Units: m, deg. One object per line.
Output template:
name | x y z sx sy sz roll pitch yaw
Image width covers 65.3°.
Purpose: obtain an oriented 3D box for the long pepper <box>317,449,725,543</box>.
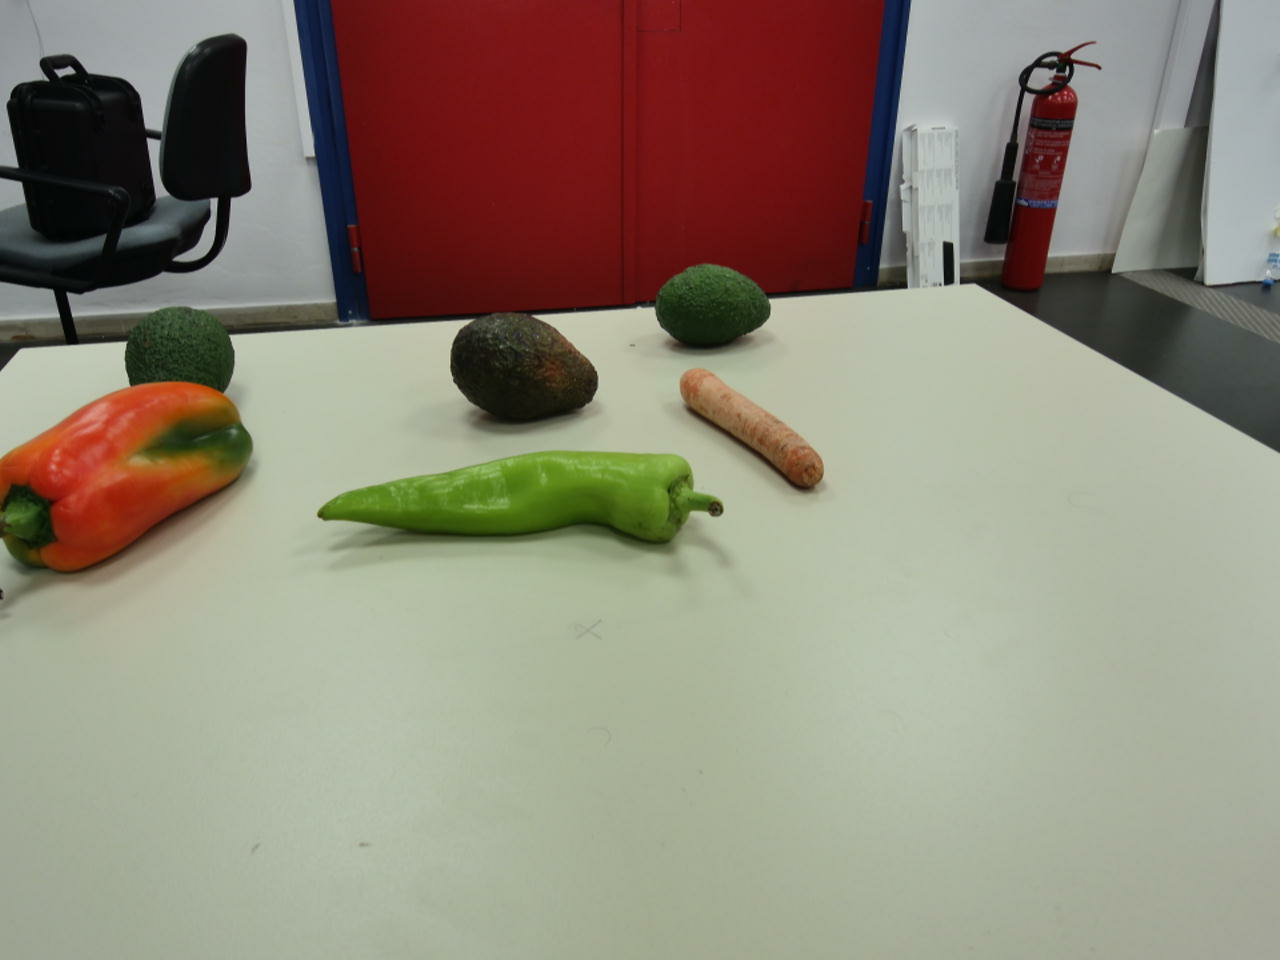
long pepper | -0.058 0.008 0.522 0.205 0.045 0.065 2 26 3
